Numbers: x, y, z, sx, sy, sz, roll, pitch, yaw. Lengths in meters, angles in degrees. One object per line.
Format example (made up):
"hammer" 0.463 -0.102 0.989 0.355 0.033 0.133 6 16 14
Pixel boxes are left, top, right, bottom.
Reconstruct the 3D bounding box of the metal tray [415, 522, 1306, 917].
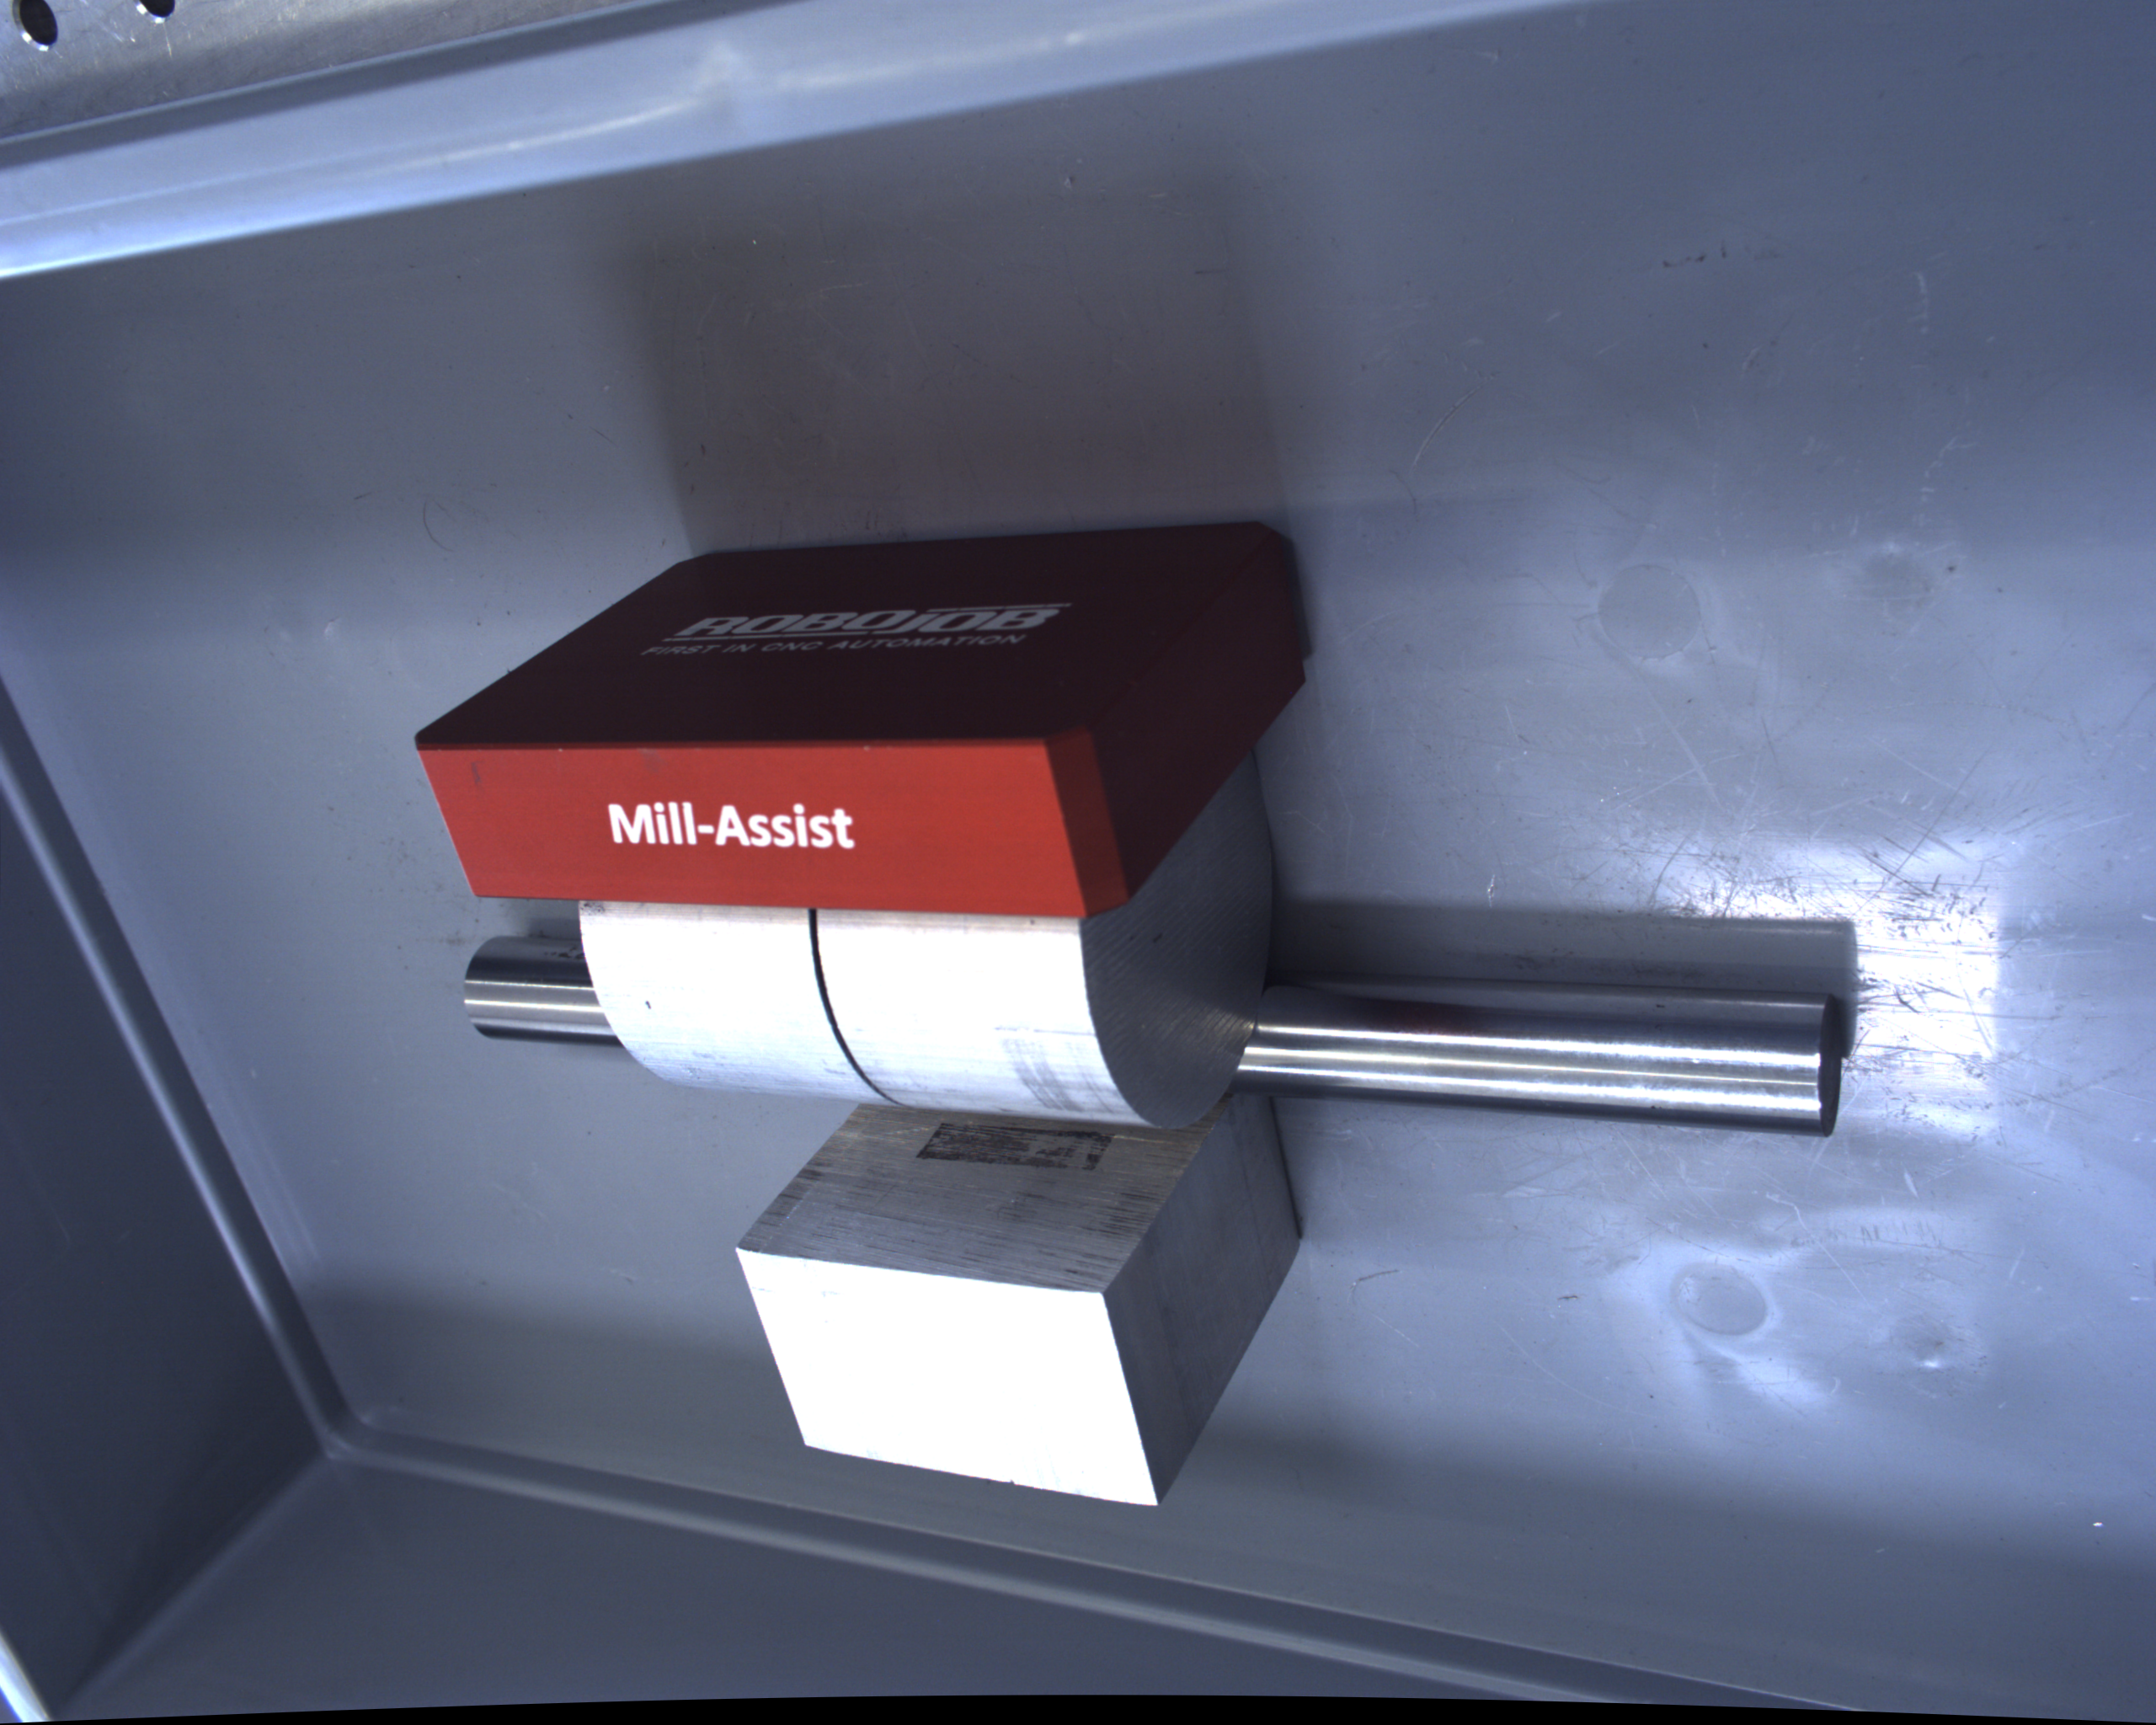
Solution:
"metal tray" -0.037 -0.027 0.367 0.130 0.090 0.030 1 119 27

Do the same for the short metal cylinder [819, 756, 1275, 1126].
"short metal cylinder" -0.003 0.006 0.377 0.050 0.080 0.079 2 119 27

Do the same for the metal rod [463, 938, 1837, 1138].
"metal rod" -0.004 0.033 0.428 0.300 0.025 0.025 1 119 27

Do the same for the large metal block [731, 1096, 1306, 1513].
"large metal block" -0.009 0.079 0.423 0.080 0.080 0.050 1 119 28

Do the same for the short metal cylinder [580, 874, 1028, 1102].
"short metal cylinder" -0.049 0.005 0.401 0.050 0.080 0.080 1 119 28
